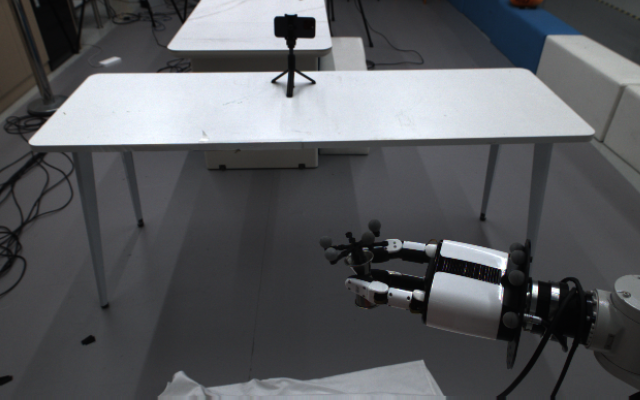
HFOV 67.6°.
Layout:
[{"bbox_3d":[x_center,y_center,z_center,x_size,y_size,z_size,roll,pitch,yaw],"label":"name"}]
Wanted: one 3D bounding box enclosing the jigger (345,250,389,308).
[{"bbox_3d":[0.061,0.106,0.654,0.043,0.071,0.043,-14,21,6],"label":"jigger"}]
